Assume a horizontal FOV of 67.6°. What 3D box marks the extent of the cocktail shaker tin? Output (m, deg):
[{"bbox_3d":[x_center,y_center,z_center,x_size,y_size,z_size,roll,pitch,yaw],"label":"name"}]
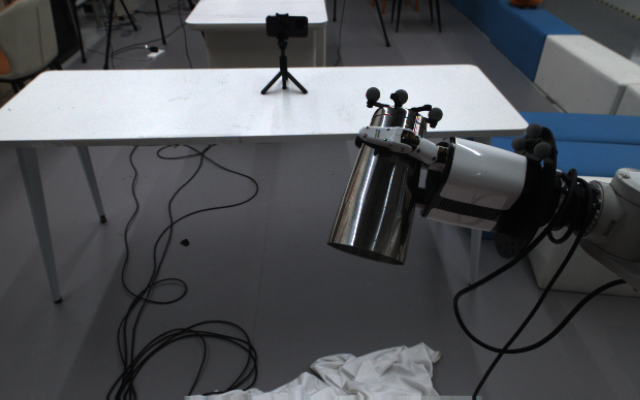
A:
[{"bbox_3d":[0.078,-0.020,0.569,0.093,0.093,0.170,13,79,15],"label":"cocktail shaker tin"}]
